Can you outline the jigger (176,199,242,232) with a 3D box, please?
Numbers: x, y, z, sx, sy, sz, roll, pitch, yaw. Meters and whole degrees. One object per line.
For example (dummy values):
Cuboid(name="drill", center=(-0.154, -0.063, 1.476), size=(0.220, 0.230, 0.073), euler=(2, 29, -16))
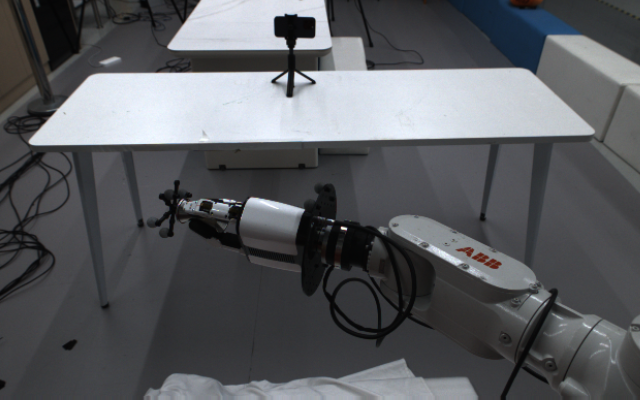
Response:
Cuboid(name="jigger", center=(-0.170, 0.018, 0.725), size=(0.071, 0.043, 0.043), euler=(10, 35, 16))
